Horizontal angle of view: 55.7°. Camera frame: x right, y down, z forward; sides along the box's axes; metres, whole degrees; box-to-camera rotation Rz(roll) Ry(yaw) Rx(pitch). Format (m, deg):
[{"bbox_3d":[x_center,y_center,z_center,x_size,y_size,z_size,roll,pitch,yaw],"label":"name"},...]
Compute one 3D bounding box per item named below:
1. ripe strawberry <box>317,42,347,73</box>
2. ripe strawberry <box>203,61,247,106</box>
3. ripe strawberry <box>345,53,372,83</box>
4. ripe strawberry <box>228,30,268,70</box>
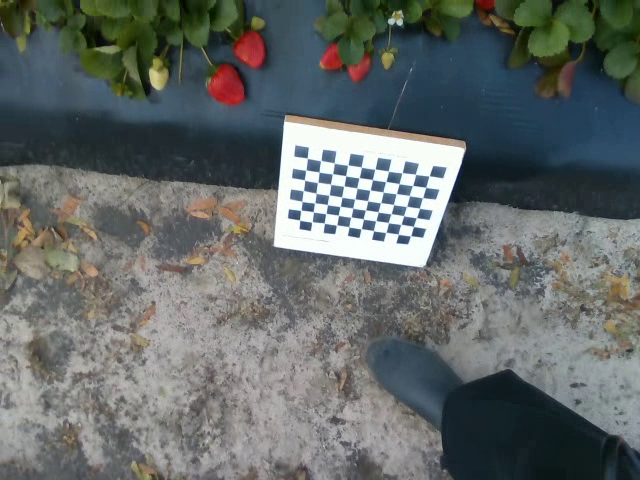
[{"bbox_3d":[0.018,-0.276,0.919,0.053,0.047,0.039,-31,47,-8],"label":"ripe strawberry"},{"bbox_3d":[-0.144,-0.237,0.942,0.058,0.065,0.044,-40,11,42],"label":"ripe strawberry"},{"bbox_3d":[0.059,-0.260,0.913,0.043,0.049,0.041,5,-17,4],"label":"ripe strawberry"},{"bbox_3d":[-0.105,-0.287,0.924,0.051,0.060,0.051,-14,-23,-40],"label":"ripe strawberry"}]
